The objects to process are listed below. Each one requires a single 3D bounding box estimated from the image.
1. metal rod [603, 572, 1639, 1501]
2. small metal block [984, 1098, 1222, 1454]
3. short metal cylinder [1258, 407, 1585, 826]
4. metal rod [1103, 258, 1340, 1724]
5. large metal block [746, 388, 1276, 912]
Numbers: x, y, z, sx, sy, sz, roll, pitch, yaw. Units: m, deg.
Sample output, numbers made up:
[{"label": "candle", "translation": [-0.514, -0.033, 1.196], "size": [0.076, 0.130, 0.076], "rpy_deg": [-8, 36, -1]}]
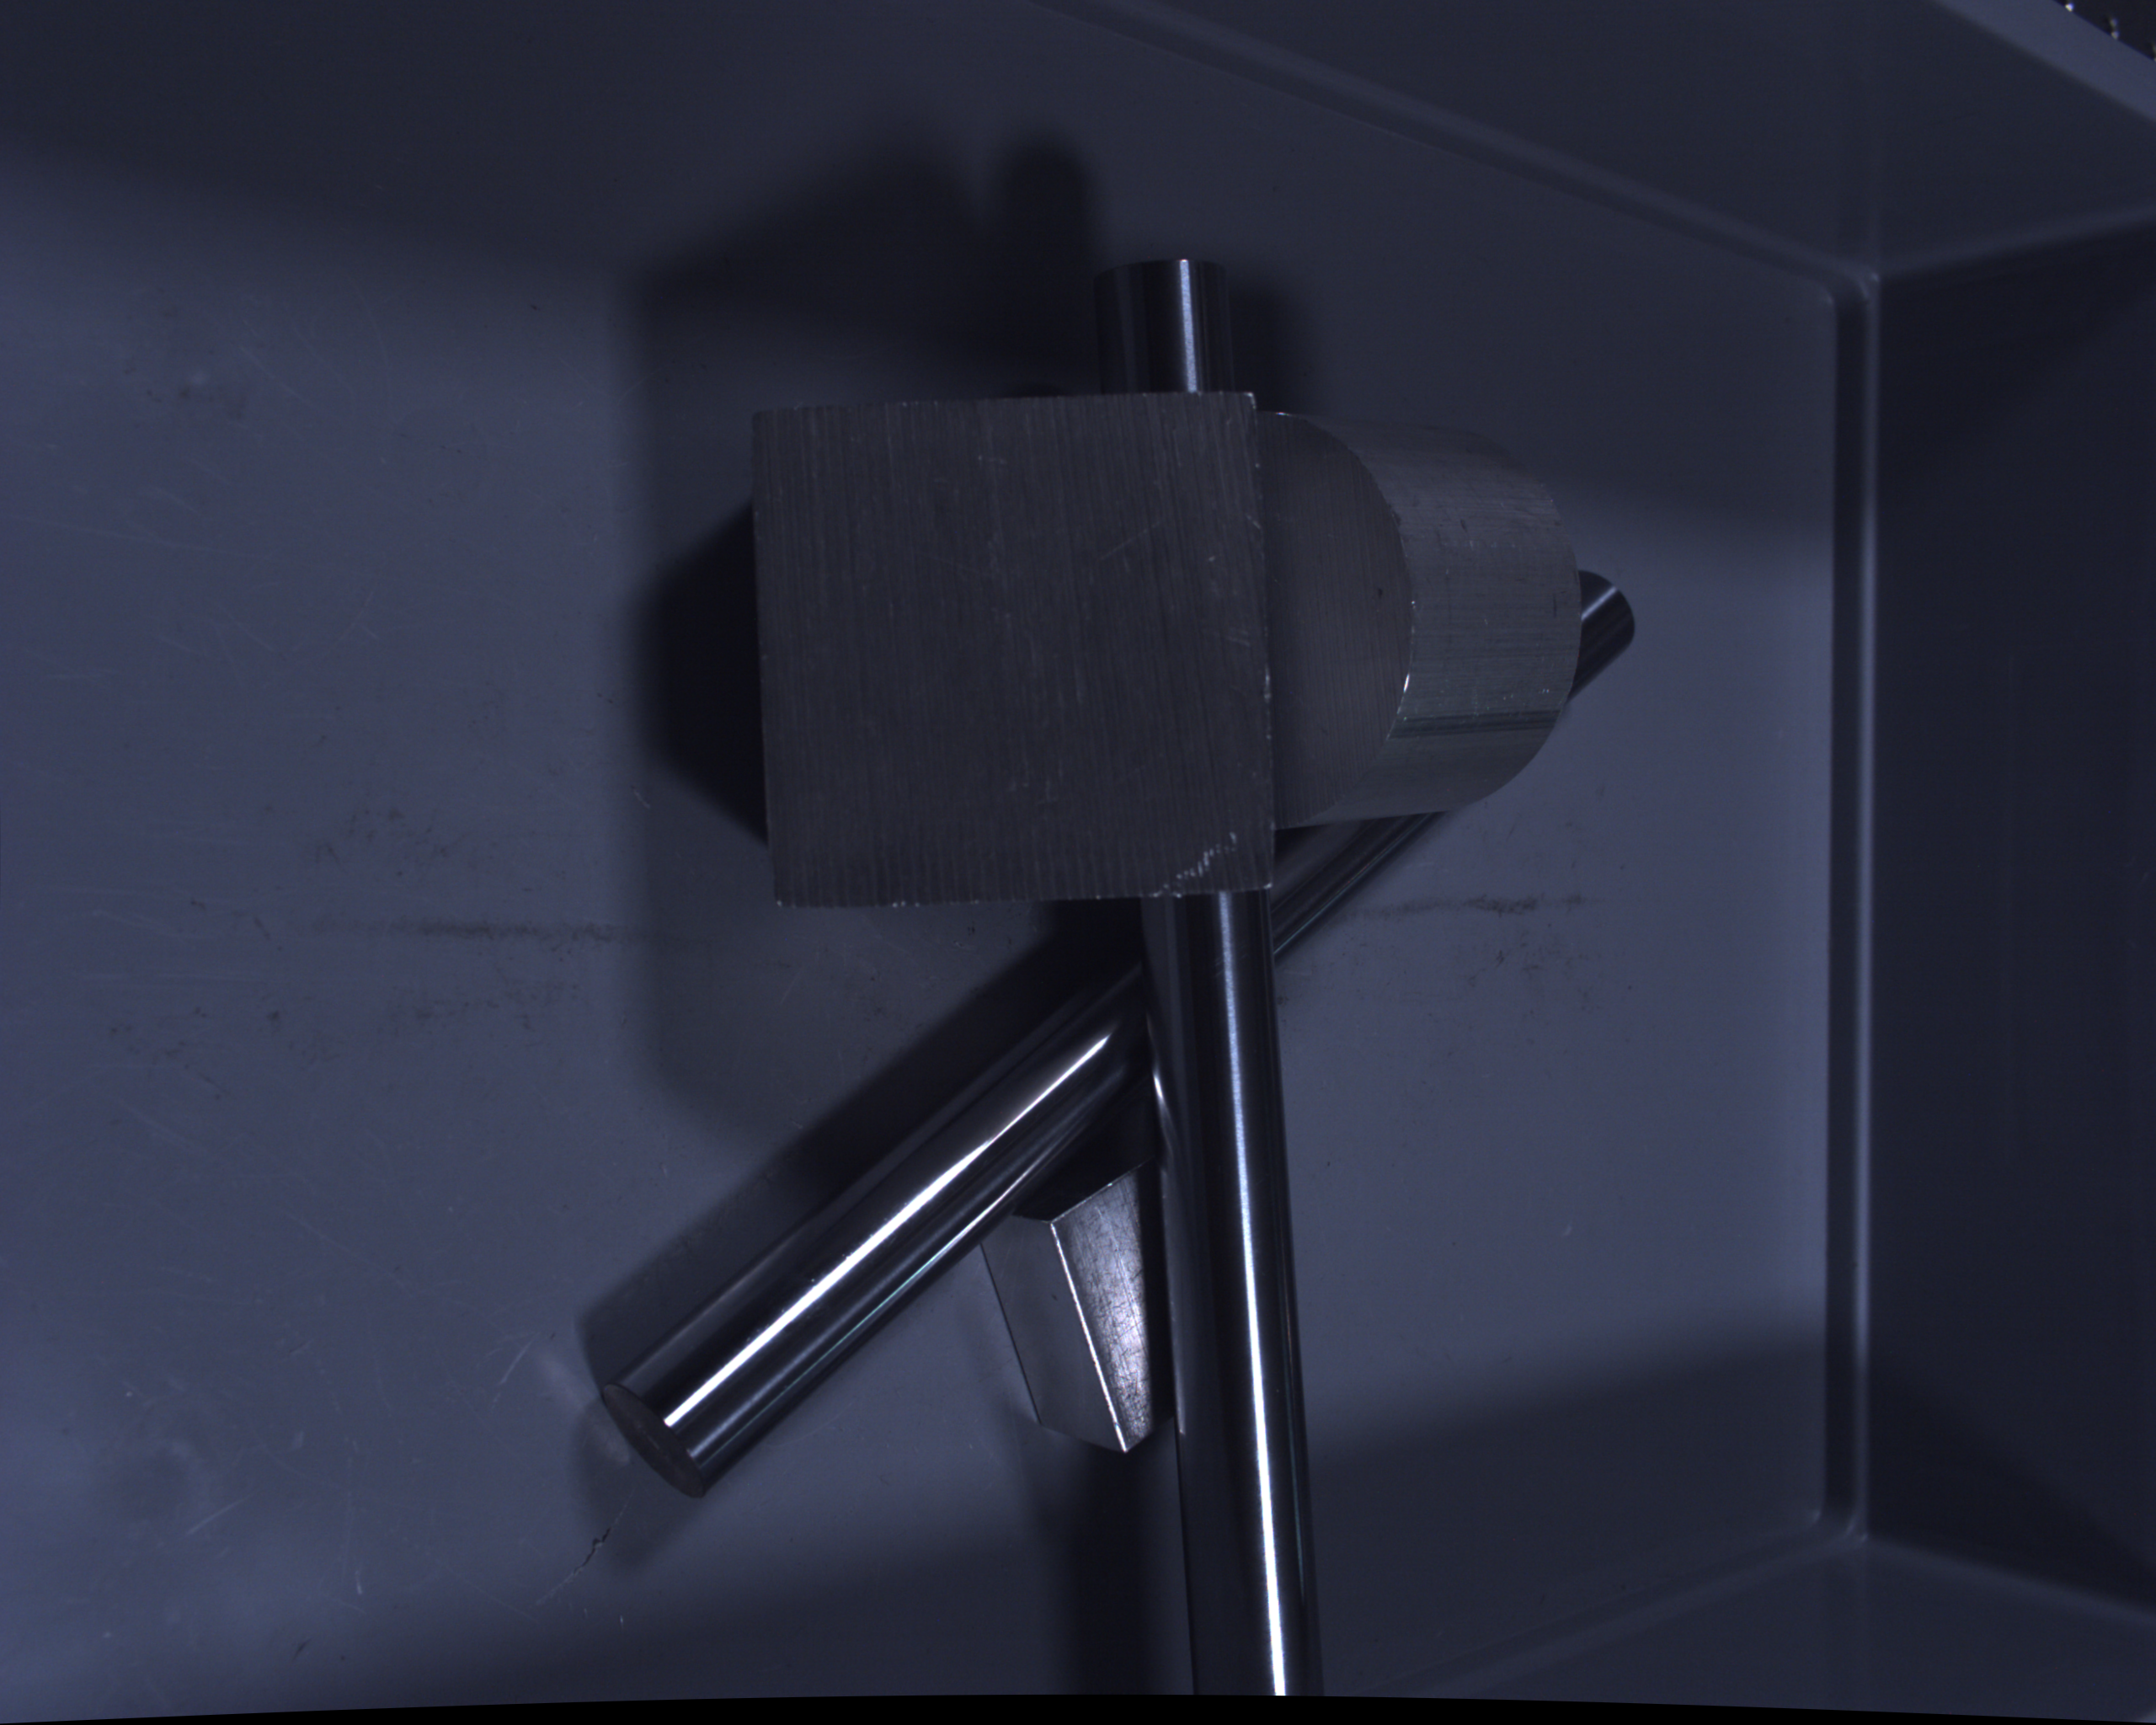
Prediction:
[{"label": "metal rod", "translation": [0.028, 0.018, 0.430], "size": [0.302, 0.025, 0.025], "rpy_deg": [-39, 114, -33]}, {"label": "small metal block", "translation": [0.012, 0.081, 0.417], "size": [0.050, 0.025, 0.050], "rpy_deg": [-27, 107, -37]}, {"label": "short metal cylinder", "translation": [0.052, -0.048, 0.414], "size": [0.050, 0.080, 0.079], "rpy_deg": [-6, 94, -42]}, {"label": "metal rod", "translation": [0.028, 0.038, 0.397], "size": [0.025, 0.025, 0.298], "rpy_deg": [-6, 93, -40]}, {"label": "large metal block", "translation": [-0.010, -0.035, 0.356], "size": [0.081, 0.050, 0.079], "rpy_deg": [-3, 92, 0]}]
